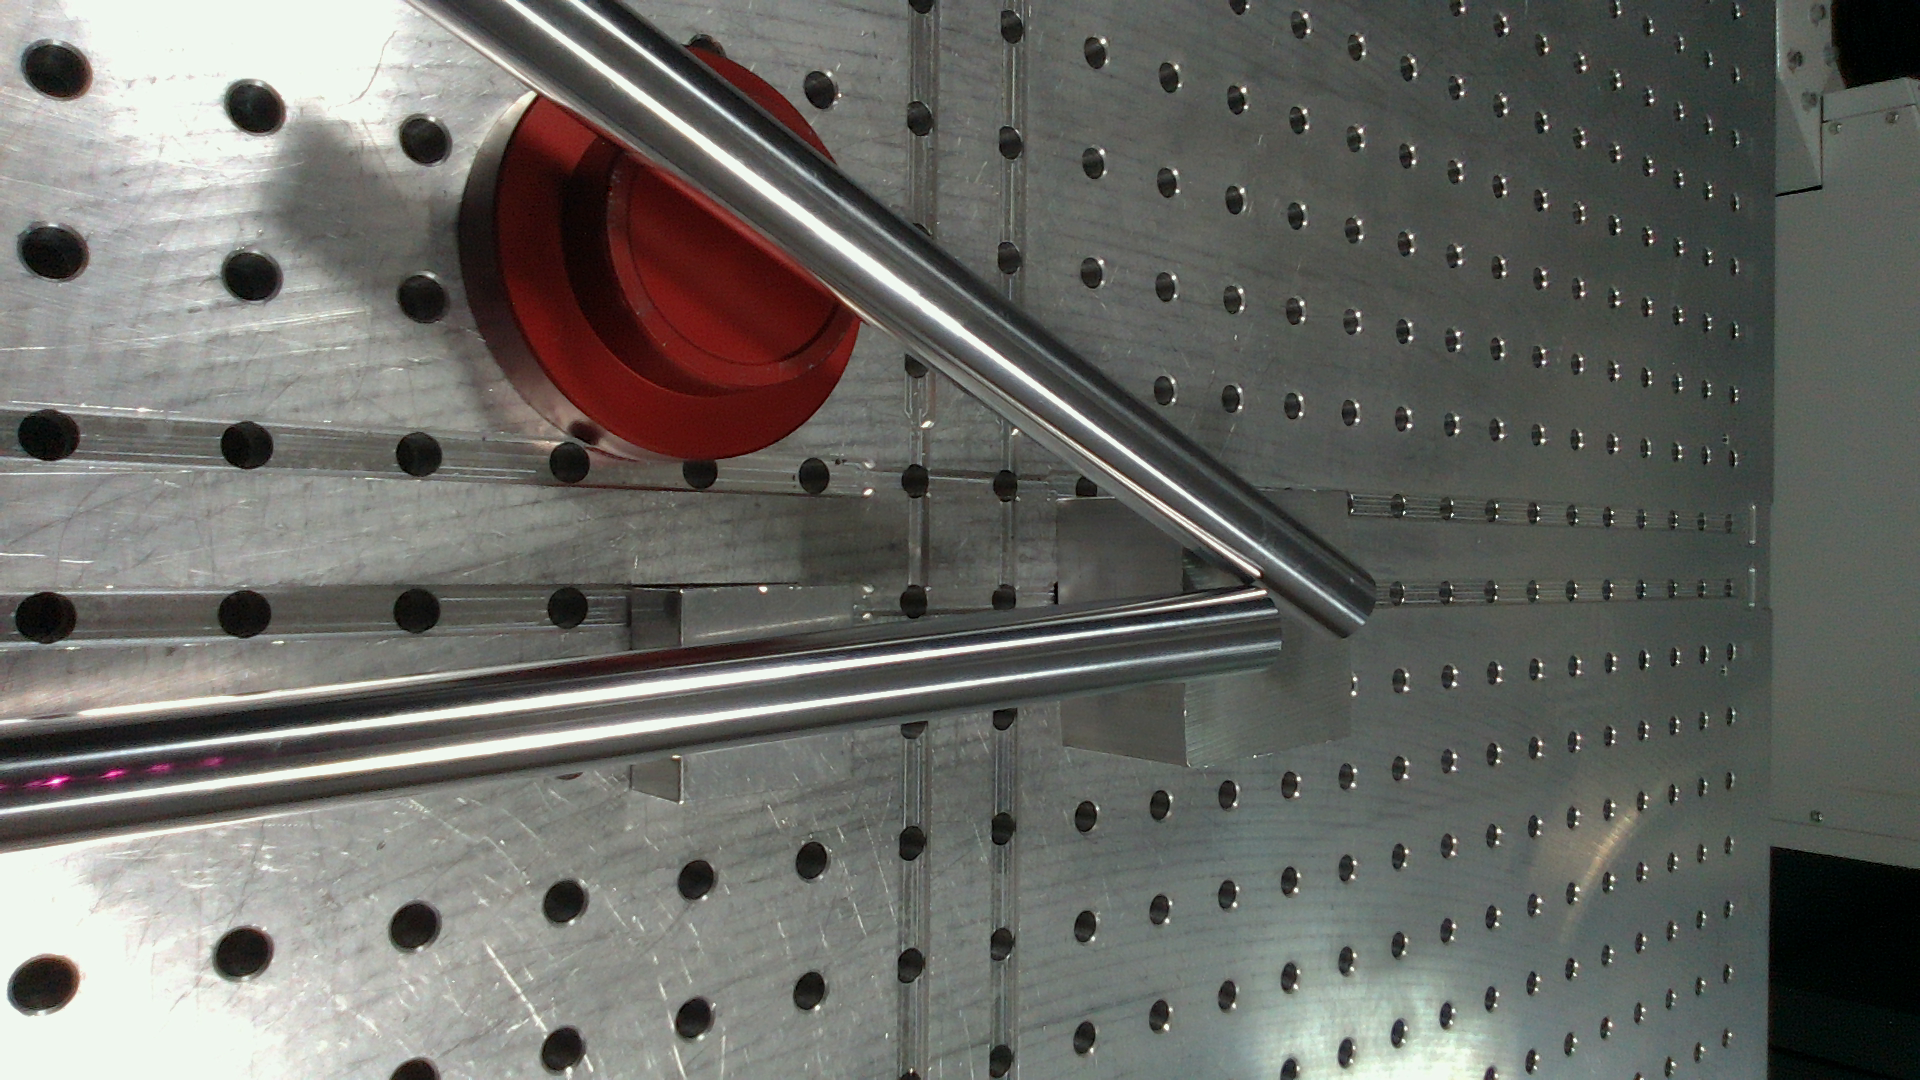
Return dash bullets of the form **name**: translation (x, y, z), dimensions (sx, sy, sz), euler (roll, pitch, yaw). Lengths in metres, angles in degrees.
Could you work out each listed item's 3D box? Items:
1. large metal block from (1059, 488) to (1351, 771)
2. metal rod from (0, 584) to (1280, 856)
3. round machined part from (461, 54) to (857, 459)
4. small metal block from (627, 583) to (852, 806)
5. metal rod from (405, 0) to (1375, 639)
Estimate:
- **large metal block**: translation (0.079, 0.025, 0.438), dimensions (0.080, 0.050, 0.080), euler (-3, 92, -40)
- **metal rod**: translation (-0.049, 0.035, 0.316), dimensions (0.301, 0.025, 0.025), euler (-4, 93, -29)
- **round machined part**: translation (-0.063, -0.068, 0.328), dimensions (0.098, 0.042, 0.098), euler (0, 90, -40)
- **small metal block**: translation (-0.055, 0.037, 0.347), dimensions (0.050, 0.025, 0.050), euler (-1, 90, -40)
- **metal rod**: translation (0.006, -0.048, 0.335), dimensions (0.301, 0.025, 0.025), euler (32, 70, -32)
